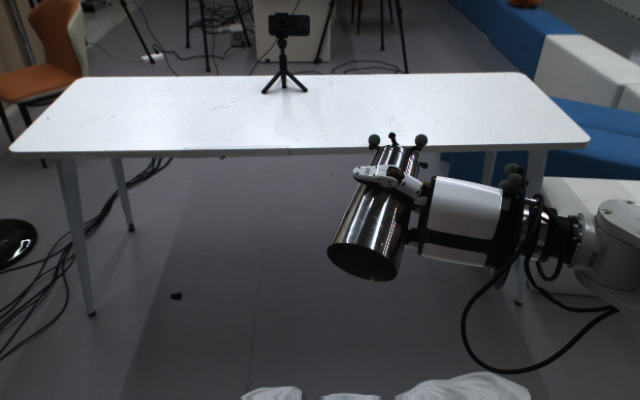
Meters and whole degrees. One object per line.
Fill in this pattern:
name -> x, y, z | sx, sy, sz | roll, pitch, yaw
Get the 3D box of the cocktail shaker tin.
cocktail shaker tin -> 0.079, 0.008, 0.637 | 0.093, 0.093, 0.170 | 14, 57, 16
